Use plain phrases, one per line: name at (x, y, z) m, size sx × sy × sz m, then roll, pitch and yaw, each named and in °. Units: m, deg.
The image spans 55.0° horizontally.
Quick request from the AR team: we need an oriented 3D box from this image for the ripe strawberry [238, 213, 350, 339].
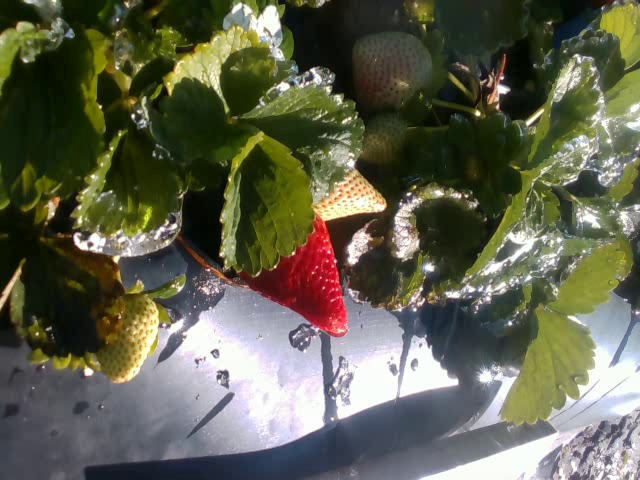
ripe strawberry at (-0.006, 0.014, 0.217) m, size 0.040 × 0.053 × 0.042 m, roll -30°, pitch -11°, yaw -16°
